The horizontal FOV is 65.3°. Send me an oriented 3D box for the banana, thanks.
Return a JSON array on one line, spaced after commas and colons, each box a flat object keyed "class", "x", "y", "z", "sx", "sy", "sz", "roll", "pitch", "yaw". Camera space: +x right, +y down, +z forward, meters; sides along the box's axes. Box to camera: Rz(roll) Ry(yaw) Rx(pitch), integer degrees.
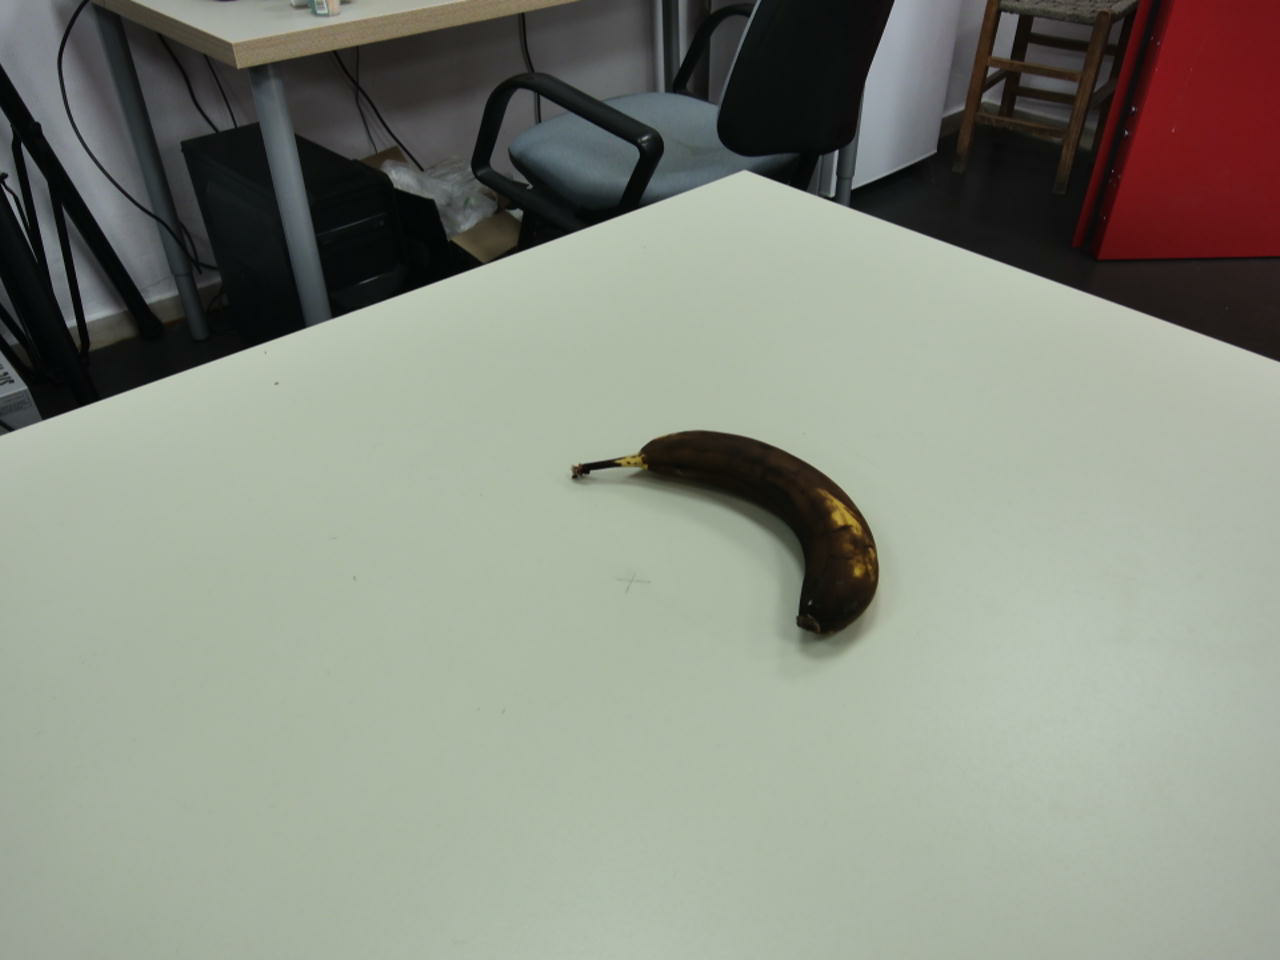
[{"class": "banana", "x": 0.055, "y": 0.011, "z": 0.525, "sx": 0.091, "sy": 0.034, "sz": 0.188, "roll": -27, "pitch": 43, "yaw": -30}]
